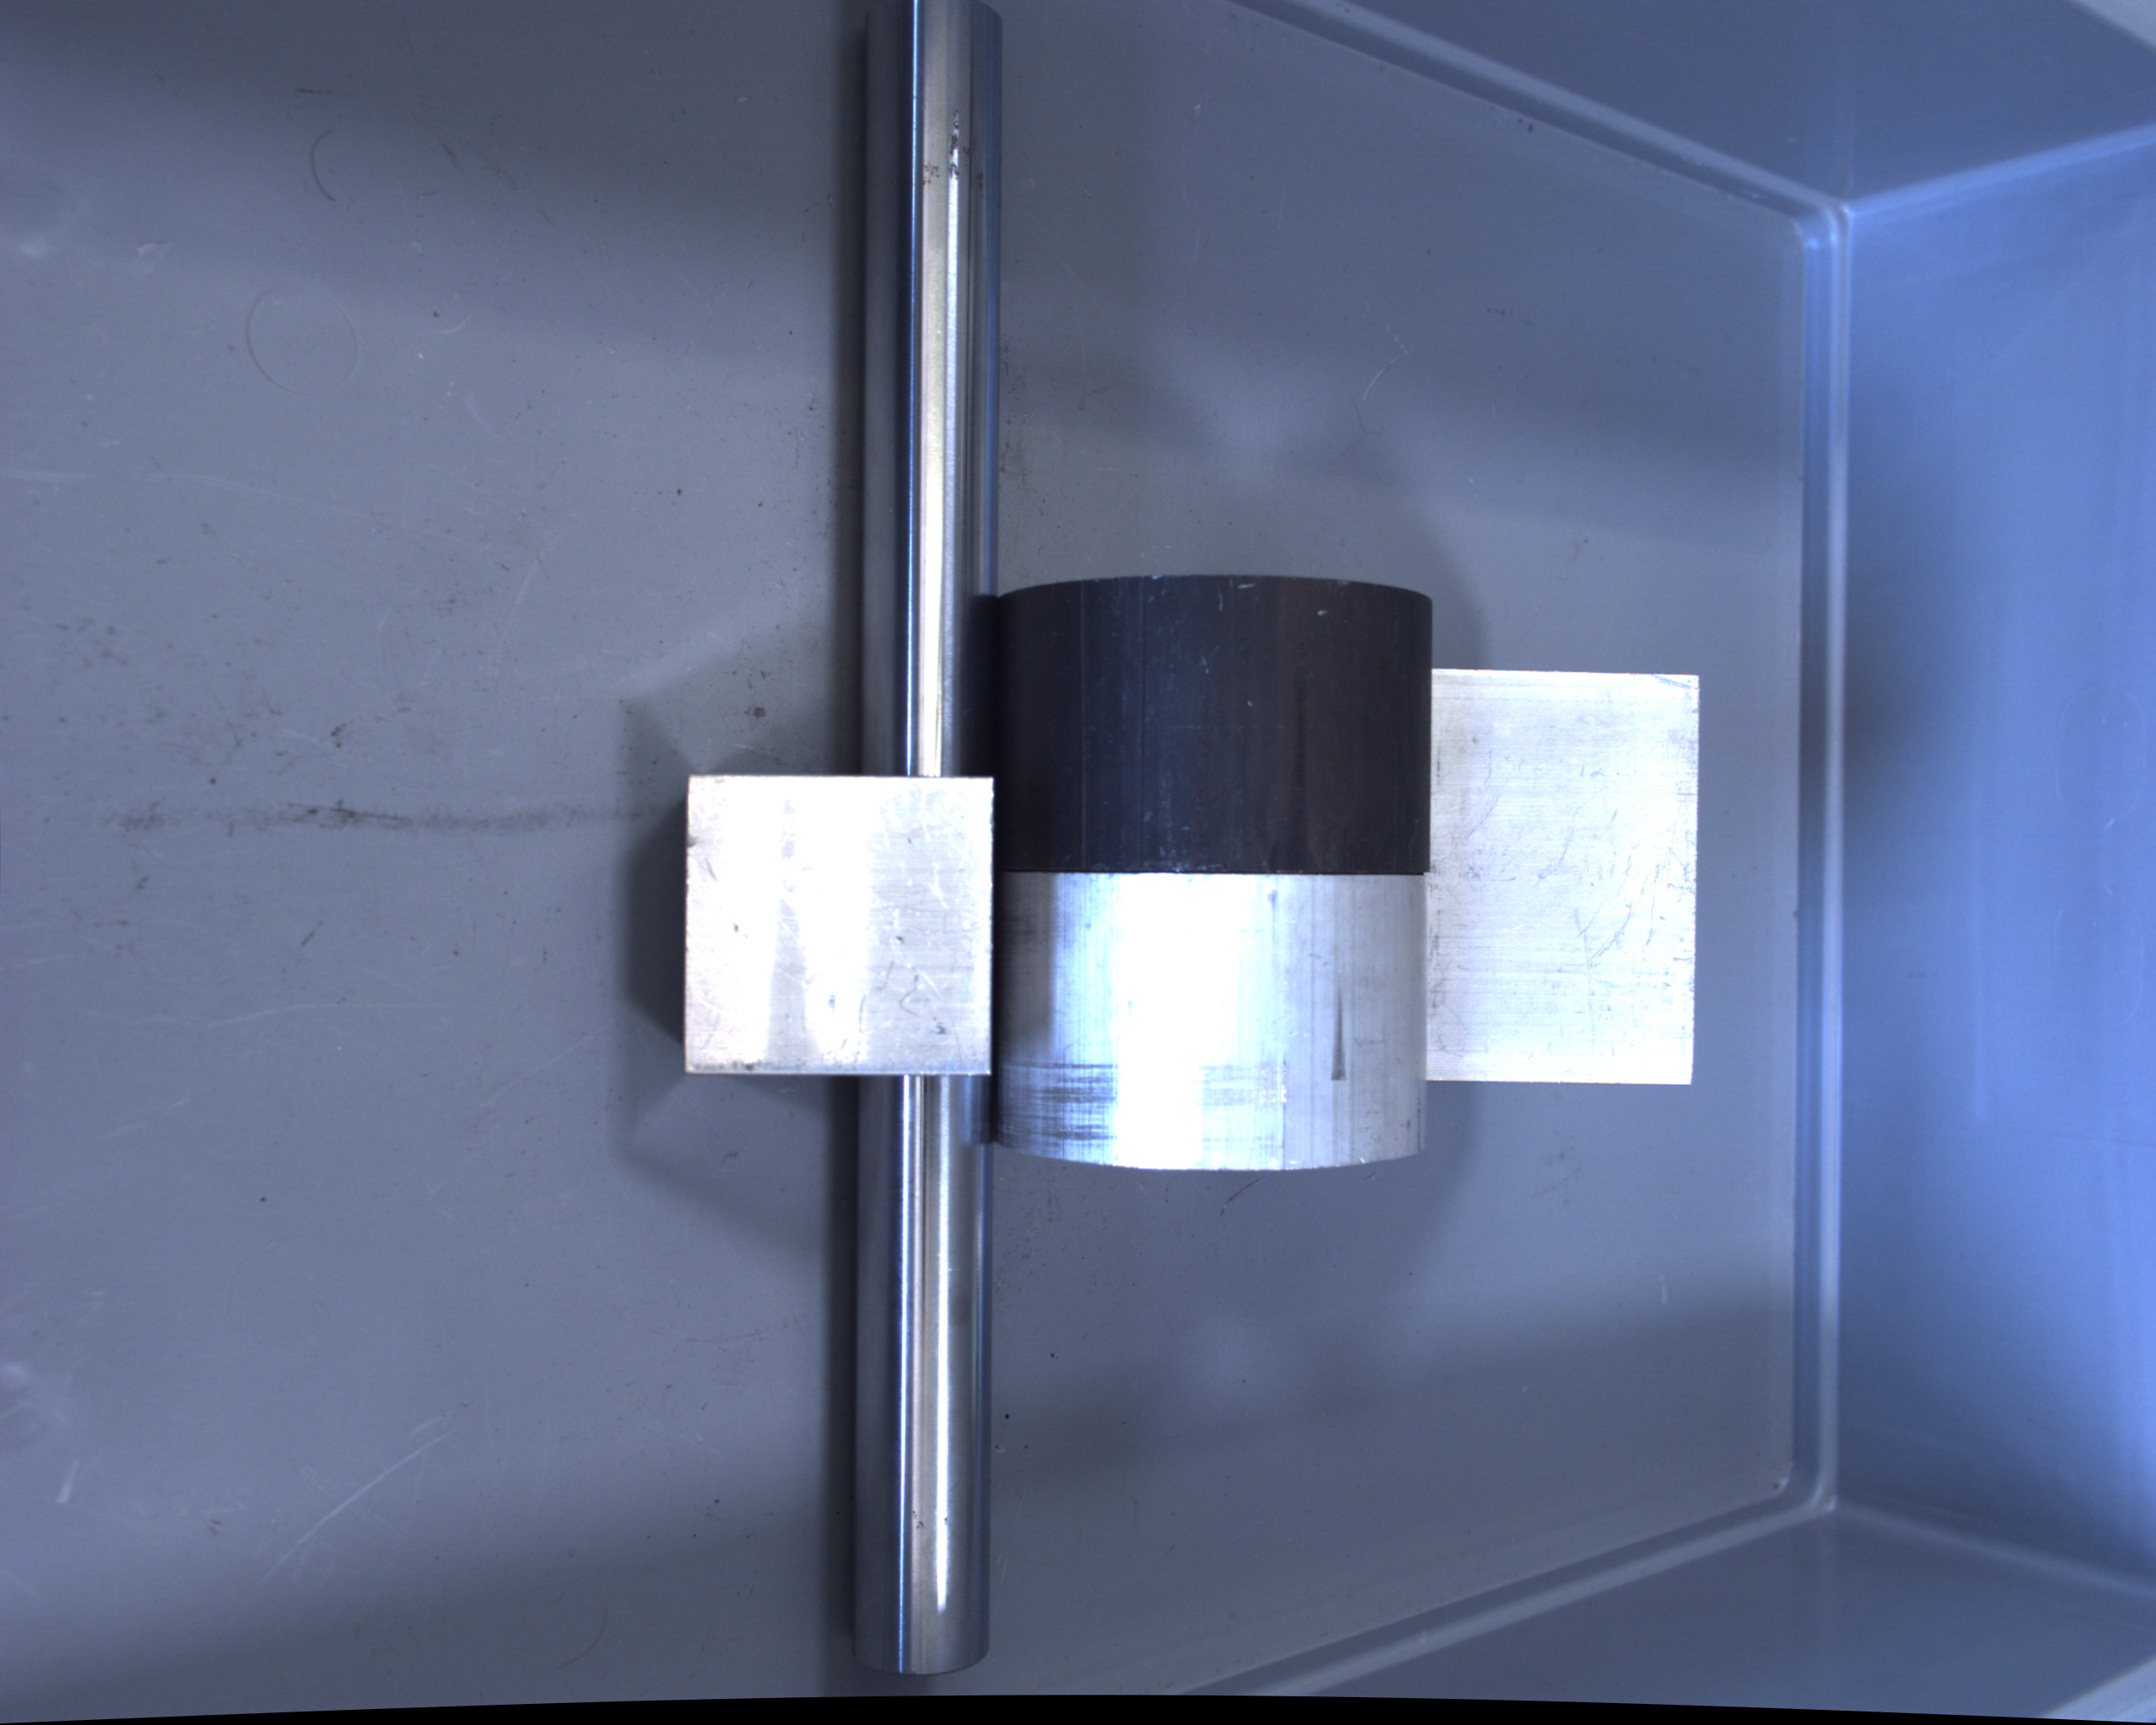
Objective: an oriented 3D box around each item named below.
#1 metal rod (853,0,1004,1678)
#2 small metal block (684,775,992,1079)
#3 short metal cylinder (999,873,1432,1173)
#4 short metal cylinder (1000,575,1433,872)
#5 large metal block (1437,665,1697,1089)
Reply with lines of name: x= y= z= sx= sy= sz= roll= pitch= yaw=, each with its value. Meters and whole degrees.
metal rod: x=-0.027 y=-0.005 z=0.381 sx=0.025 sy=0.025 sz=0.298 roll=1 pitch=90 yaw=-40
small metal block: x=-0.041 y=0.011 z=0.356 sx=0.050 sy=0.025 sz=0.050 roll=0 pitch=89 yaw=-5
short metal cylinder: x=0.025 y=0.027 z=0.390 sx=0.081 sy=0.080 sz=0.050 roll=1 pitch=90 yaw=-40
short metal cylinder: x=0.025 y=-0.023 z=0.390 sx=0.081 sy=0.080 sz=0.050 roll=1 pitch=90 yaw=-40
large metal block: x=0.090 y=0.003 z=0.435 sx=0.050 sy=0.080 sz=0.079 roll=1 pitch=90 yaw=-2
